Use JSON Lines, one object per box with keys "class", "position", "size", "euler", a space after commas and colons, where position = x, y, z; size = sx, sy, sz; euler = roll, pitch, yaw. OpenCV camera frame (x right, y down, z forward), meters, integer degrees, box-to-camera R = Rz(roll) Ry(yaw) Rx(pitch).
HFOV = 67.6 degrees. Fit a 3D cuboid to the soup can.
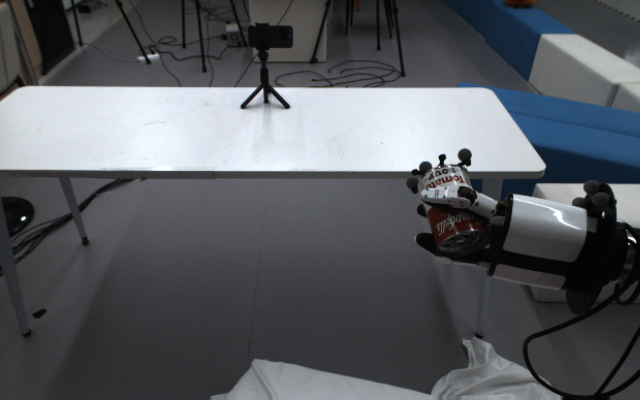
{"class": "soup can", "position": [0.171, 0.012, 0.622], "size": [0.067, 0.067, 0.101], "euler": [-5, 57, -10]}
